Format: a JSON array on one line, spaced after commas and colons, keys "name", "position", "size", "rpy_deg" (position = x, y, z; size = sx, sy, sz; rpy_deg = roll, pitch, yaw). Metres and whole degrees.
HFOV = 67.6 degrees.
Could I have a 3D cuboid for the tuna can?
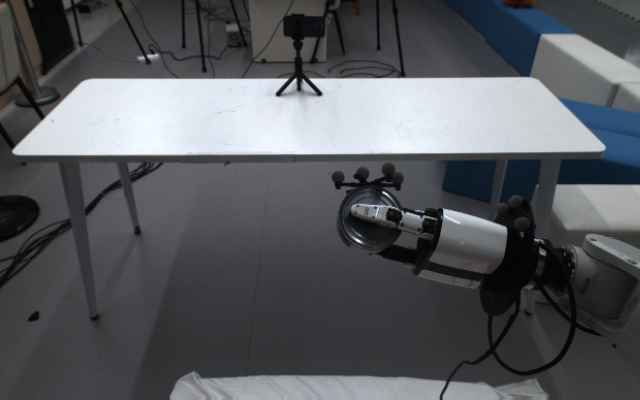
[{"name": "tuna can", "position": [0.065, 0.024, 0.628], "size": [0.085, 0.034, 0.085], "rpy_deg": [1, 69, -3]}]
